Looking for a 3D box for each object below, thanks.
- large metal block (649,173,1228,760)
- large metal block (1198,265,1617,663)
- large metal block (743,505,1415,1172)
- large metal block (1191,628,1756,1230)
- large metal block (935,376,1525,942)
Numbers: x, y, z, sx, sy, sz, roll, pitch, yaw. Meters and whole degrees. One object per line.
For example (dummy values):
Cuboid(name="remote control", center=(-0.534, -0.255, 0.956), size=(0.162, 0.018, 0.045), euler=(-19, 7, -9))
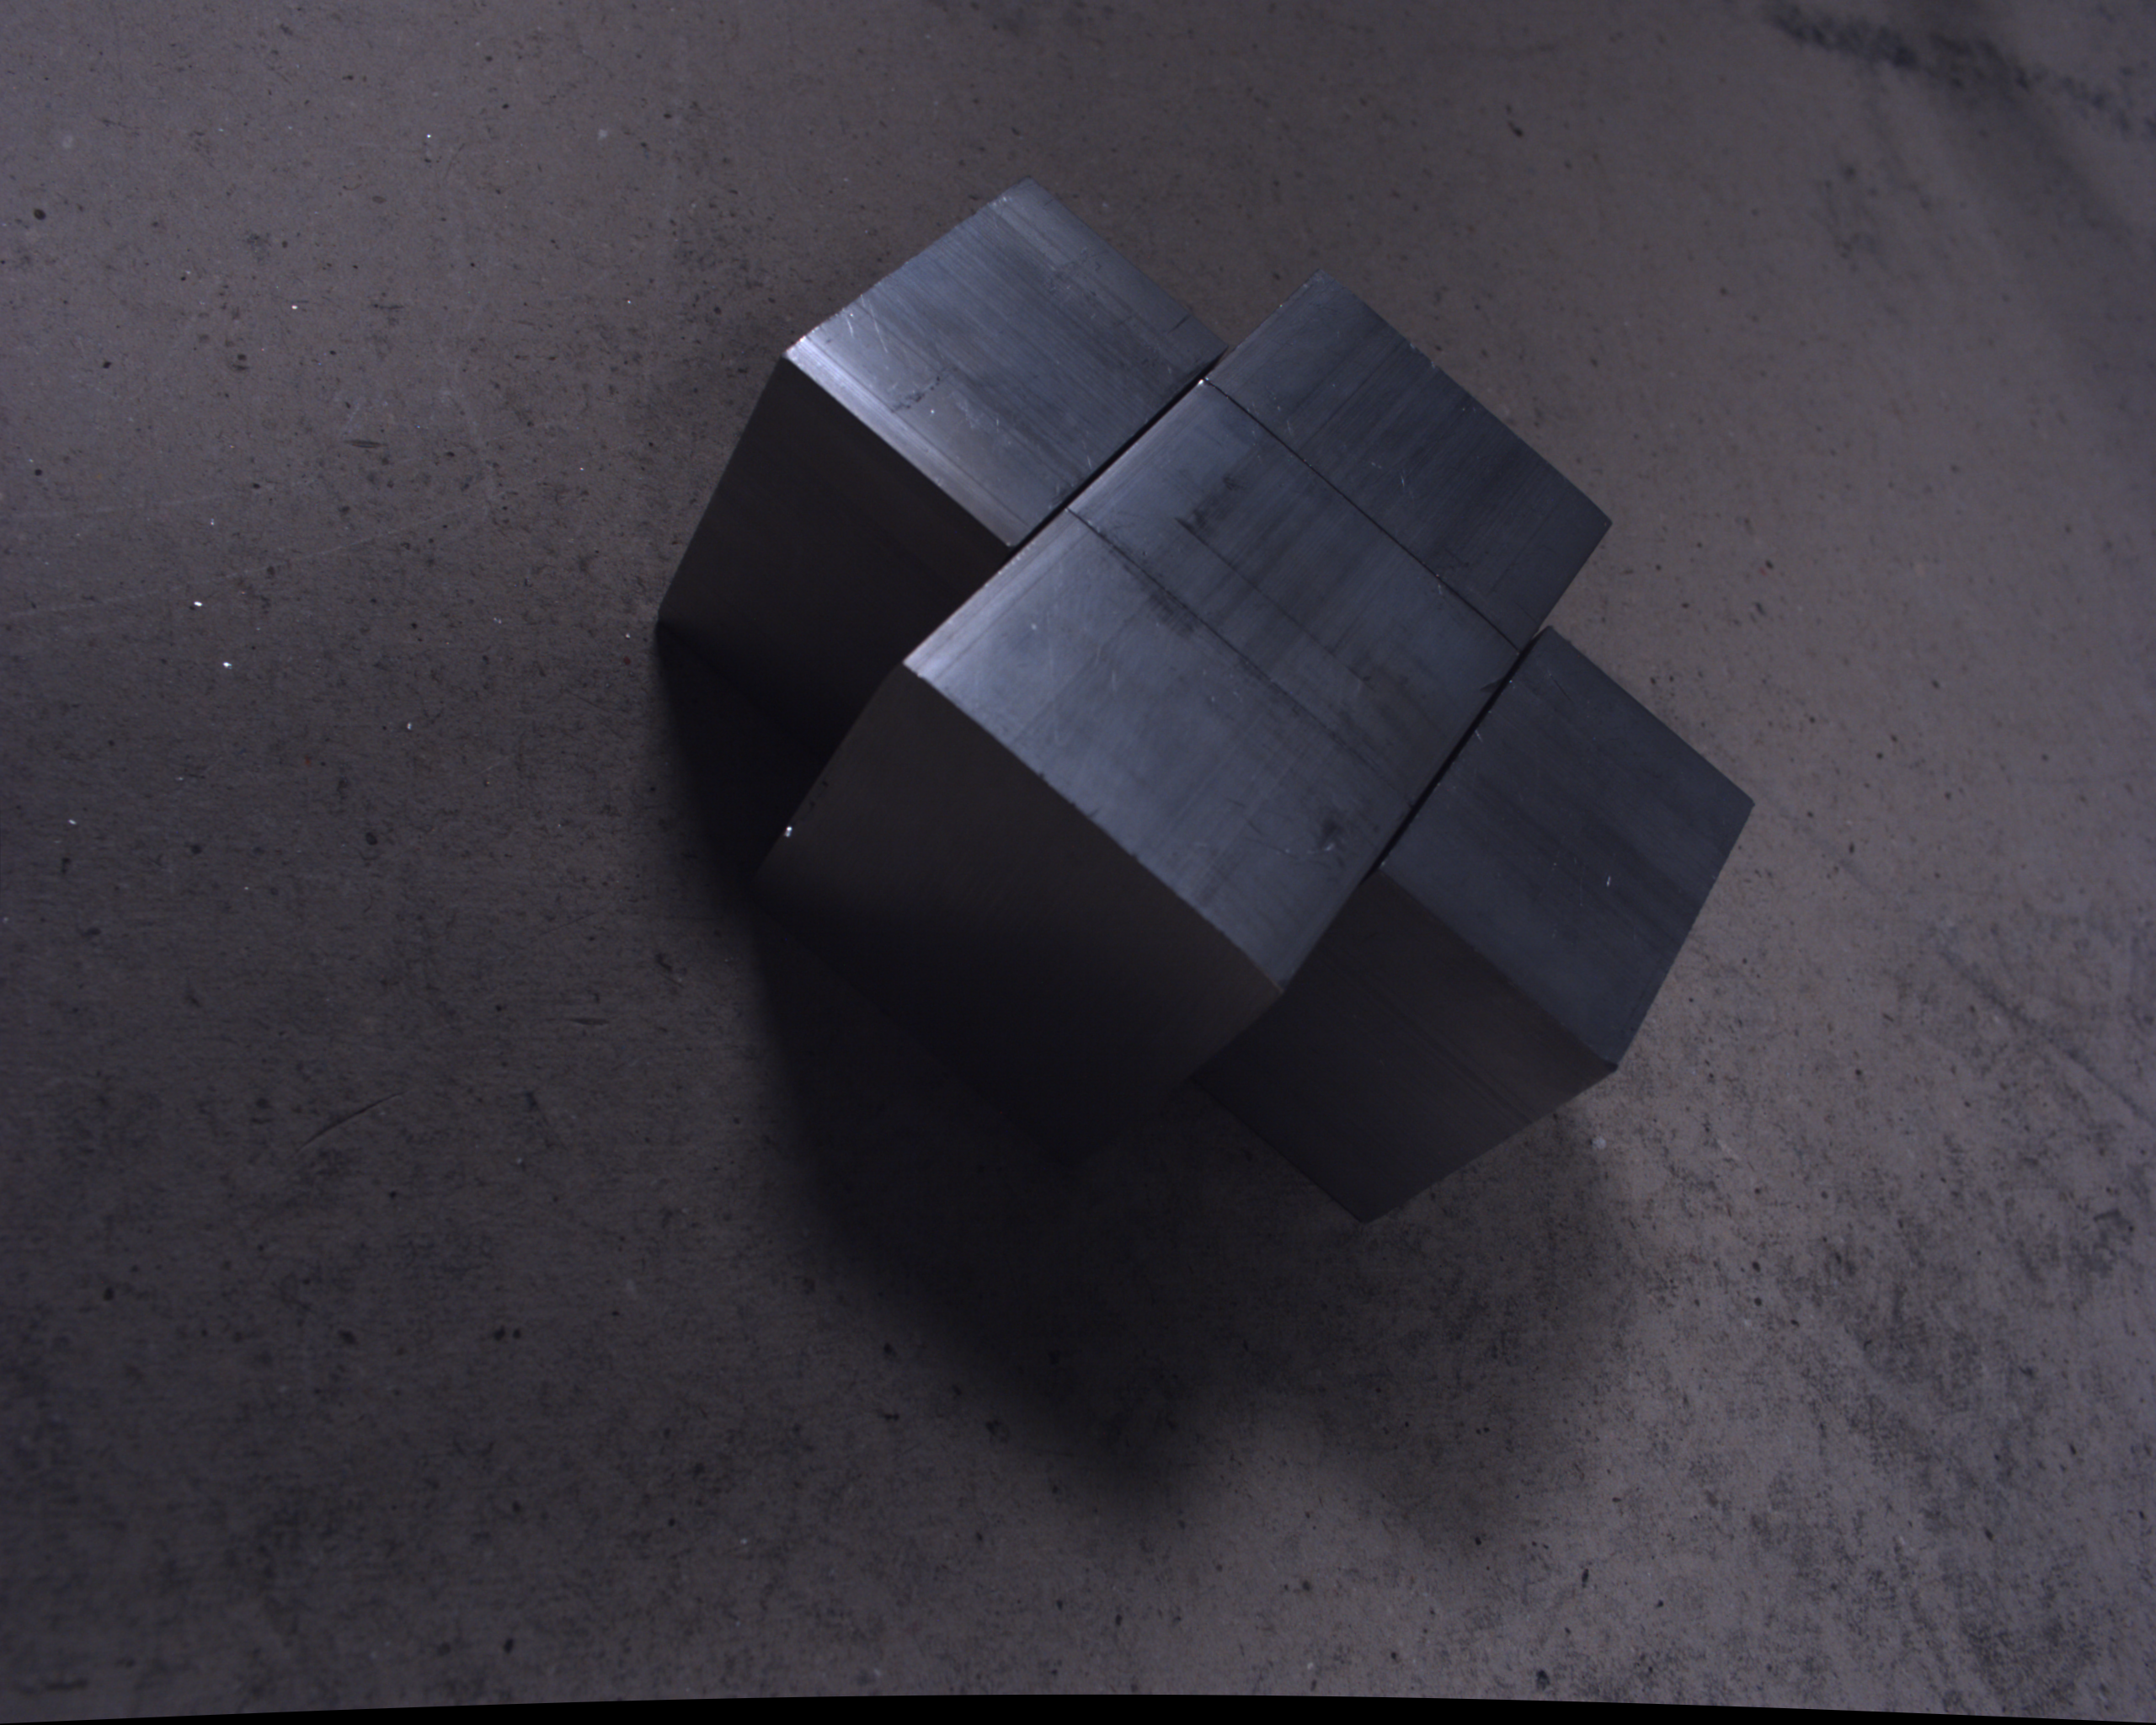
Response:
Cuboid(name="large metal block", center=(-0.028, -0.072, 0.401), size=(0.050, 0.080, 0.080), euler=(41, 51, -1))
Cuboid(name="large metal block", center=(0.049, -0.061, 0.436), size=(0.080, 0.080, 0.050), euler=(41, 51, -1))
Cuboid(name="large metal block", center=(-0.002, -0.002, 0.372), size=(0.080, 0.080, 0.050), euler=(41, 51, -1))
Cuboid(name="large metal block", center=(0.073, 0.014, 0.404), size=(0.050, 0.080, 0.080), euler=(41, 51, -1))
Cuboid(name="large metal block", center=(0.024, -0.031, 0.404), size=(0.080, 0.080, 0.050), euler=(41, 51, -1))
